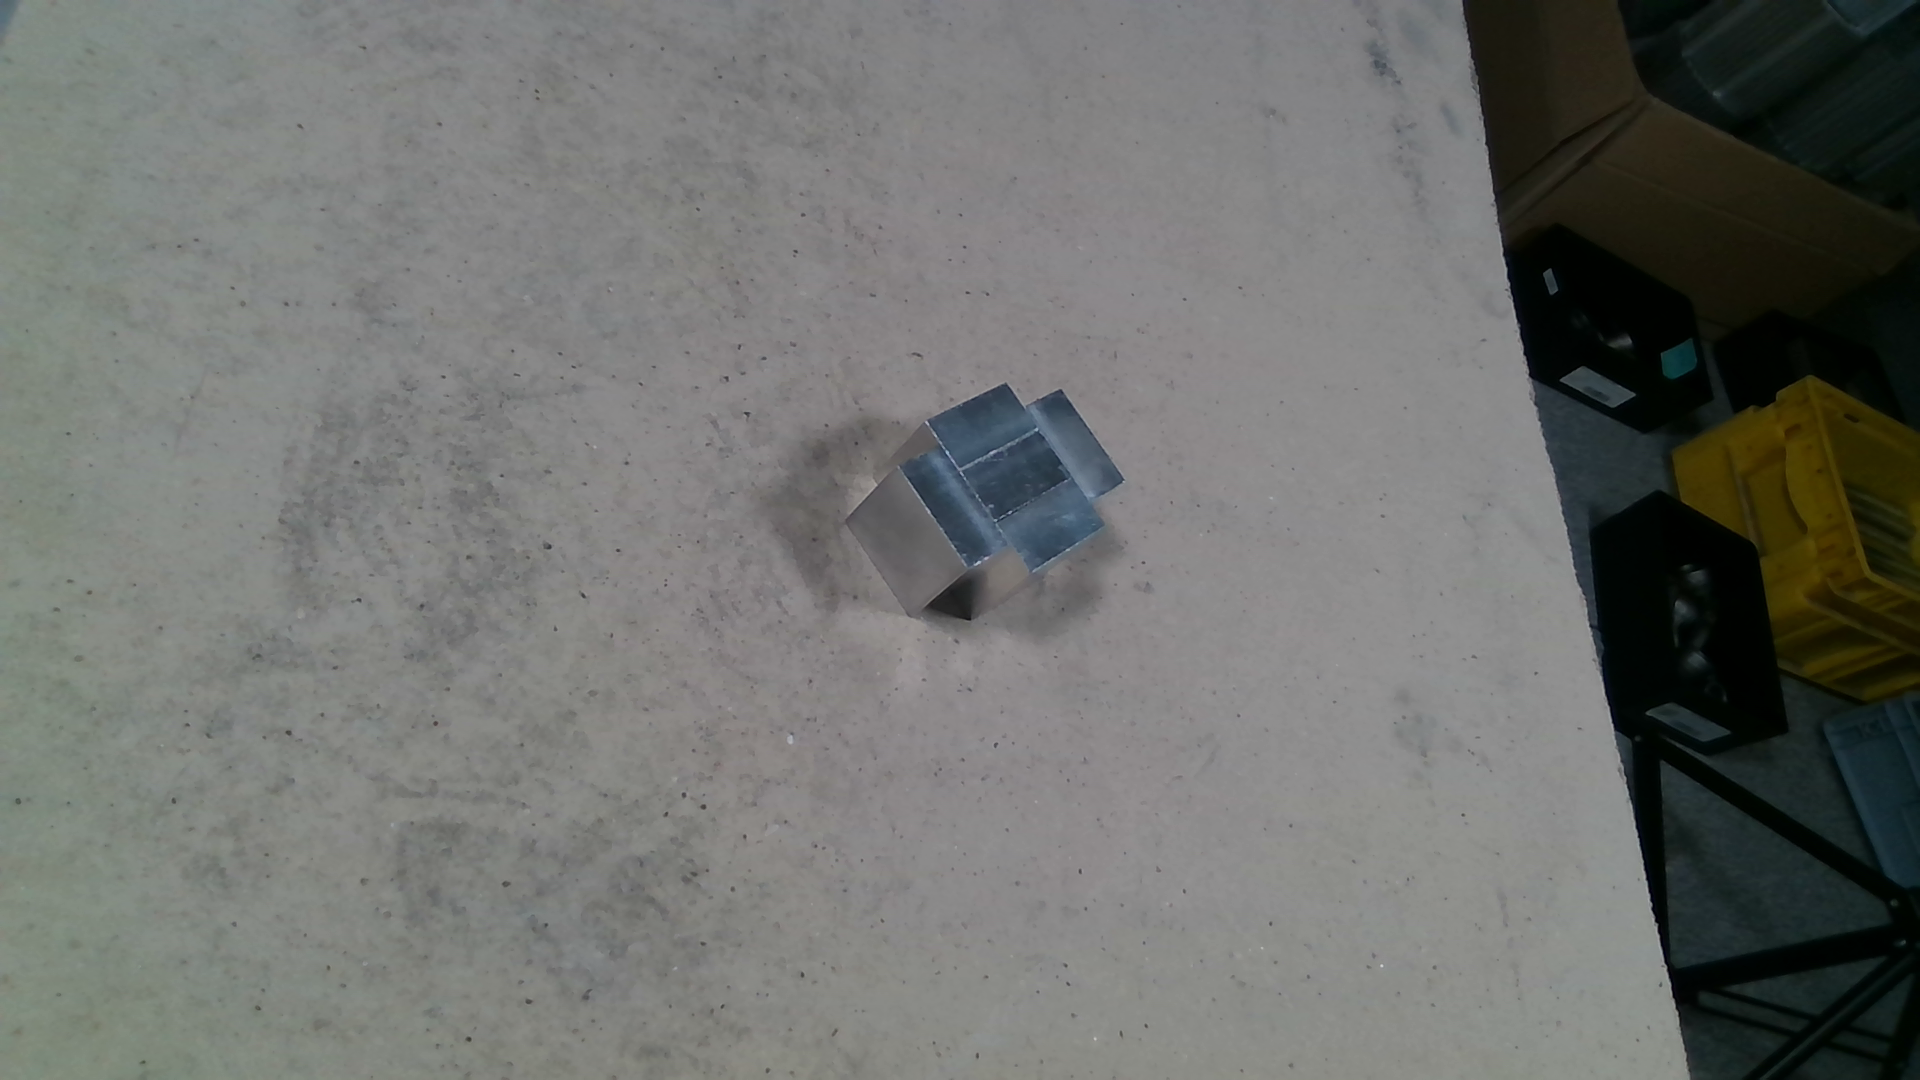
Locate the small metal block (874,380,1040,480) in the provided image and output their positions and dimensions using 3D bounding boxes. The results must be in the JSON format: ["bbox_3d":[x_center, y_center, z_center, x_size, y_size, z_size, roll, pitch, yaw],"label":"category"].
[{"bbox_3d":[-0.002,-0.038,0.588,0.050,0.050,0.025,-30,83,-39],"label":"small metal block"}]

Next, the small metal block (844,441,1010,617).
[{"bbox_3d":[-0.014,-0.004,0.563,0.025,0.050,0.050,-30,83,-39],"label":"small metal block"}]

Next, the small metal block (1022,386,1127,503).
[{"bbox_3d":[0.038,-0.031,0.609,0.025,0.050,0.050,-30,83,-39],"label":"small metal block"}]

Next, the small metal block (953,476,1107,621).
[{"bbox_3d":[0.026,0.004,0.584,0.050,0.050,0.025,-31,84,-39],"label":"small metal block"}]

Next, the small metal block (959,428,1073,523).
[{"bbox_3d":[0.012,-0.017,0.586,0.050,0.050,0.025,-30,83,-39],"label":"small metal block"}]
